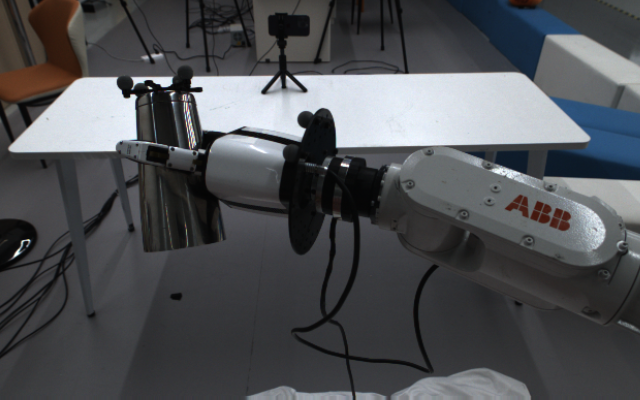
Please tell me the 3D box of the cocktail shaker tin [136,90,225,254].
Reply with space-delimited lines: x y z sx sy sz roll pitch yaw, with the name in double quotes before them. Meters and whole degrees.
"cocktail shaker tin" -0.165 -0.031 0.553 0.093 0.170 0.093 -8 1 0
